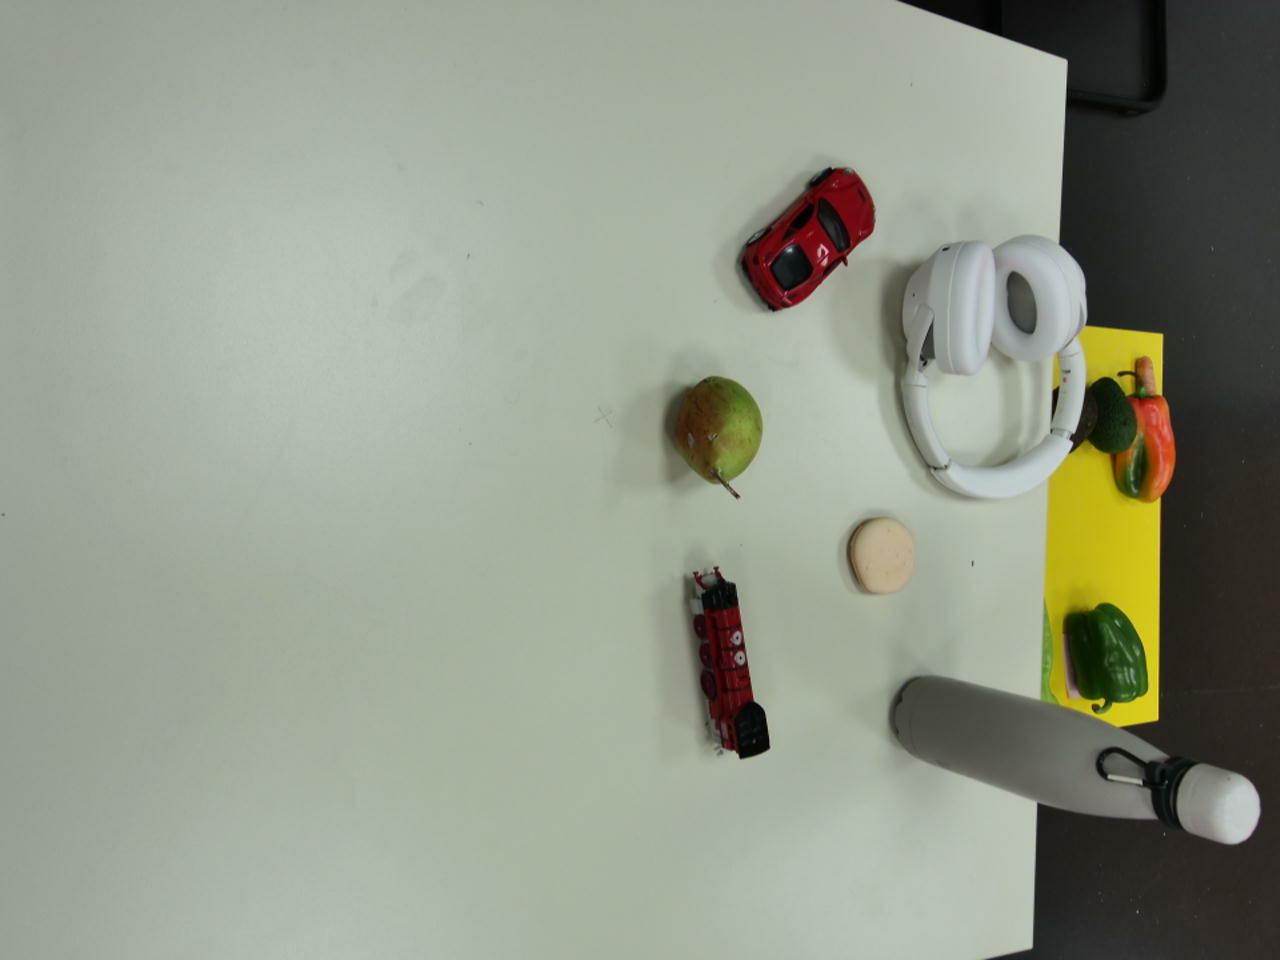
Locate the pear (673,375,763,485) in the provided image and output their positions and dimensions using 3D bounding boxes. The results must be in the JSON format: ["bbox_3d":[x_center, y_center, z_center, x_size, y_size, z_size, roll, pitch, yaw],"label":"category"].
[{"bbox_3d":[0.057,-0.038,0.728,0.070,0.069,0.068,-37,108,-22],"label":"pear"}]
